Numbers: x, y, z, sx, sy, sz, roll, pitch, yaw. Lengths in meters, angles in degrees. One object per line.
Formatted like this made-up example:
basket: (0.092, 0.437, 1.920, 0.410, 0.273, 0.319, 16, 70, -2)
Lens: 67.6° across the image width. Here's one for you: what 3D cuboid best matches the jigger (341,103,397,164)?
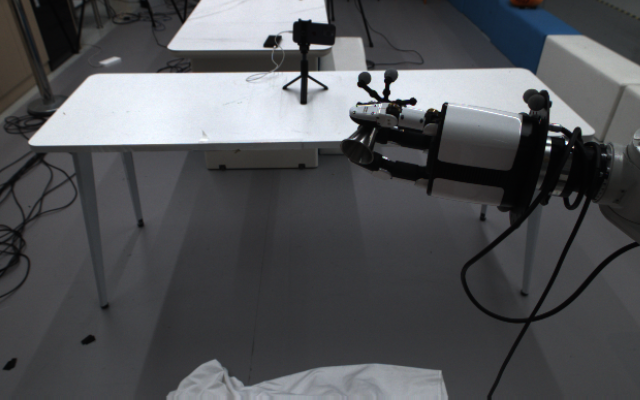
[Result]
jigger: (0.058, -0.087, 0.589, 0.043, 0.043, 0.071, 19, 61, 23)
